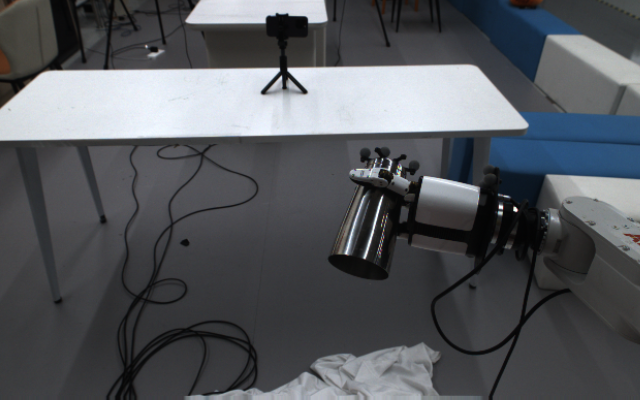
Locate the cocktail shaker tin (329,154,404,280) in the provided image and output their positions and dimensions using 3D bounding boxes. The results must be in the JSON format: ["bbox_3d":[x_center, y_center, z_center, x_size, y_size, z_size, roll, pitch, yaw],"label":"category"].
[{"bbox_3d":[0.082,0.020,0.729,0.093,0.093,0.170,12,65,15],"label":"cocktail shaker tin"}]
